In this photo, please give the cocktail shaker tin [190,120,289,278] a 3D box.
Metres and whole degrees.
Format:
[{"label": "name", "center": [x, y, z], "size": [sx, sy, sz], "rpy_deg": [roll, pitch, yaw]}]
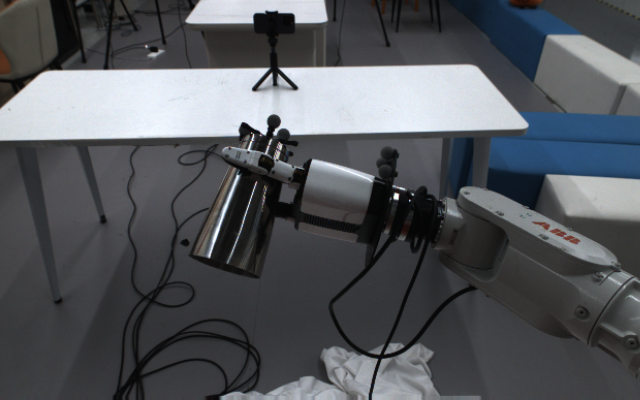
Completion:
[{"label": "cocktail shaker tin", "center": [-0.094, 0.003, 0.622], "size": [0.093, 0.093, 0.170], "rpy_deg": [12, 72, 14]}]
